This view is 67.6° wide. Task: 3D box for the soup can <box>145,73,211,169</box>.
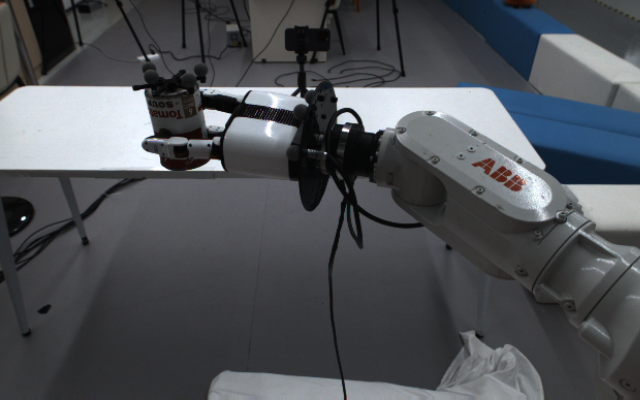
[{"bbox_3d":[-0.182,-0.097,0.628,0.067,0.101,0.067,-2,33,1],"label":"soup can"}]
